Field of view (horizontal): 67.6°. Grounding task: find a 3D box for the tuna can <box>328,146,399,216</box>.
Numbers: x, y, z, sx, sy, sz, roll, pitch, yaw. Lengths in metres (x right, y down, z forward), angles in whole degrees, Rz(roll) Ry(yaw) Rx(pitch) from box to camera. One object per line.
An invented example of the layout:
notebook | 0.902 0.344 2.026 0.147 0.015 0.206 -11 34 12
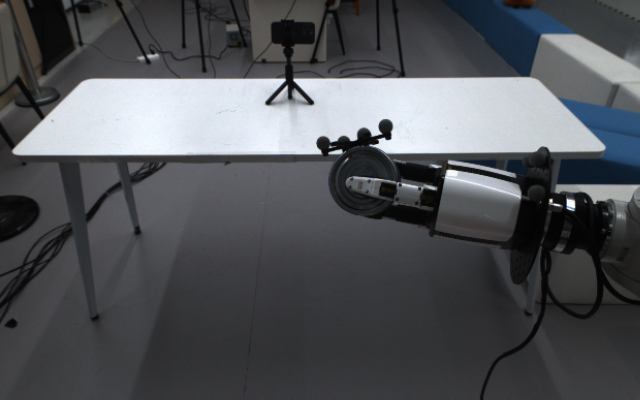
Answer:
tuna can | 0.057 -0.025 0.592 0.085 0.085 0.034 12 3 14
